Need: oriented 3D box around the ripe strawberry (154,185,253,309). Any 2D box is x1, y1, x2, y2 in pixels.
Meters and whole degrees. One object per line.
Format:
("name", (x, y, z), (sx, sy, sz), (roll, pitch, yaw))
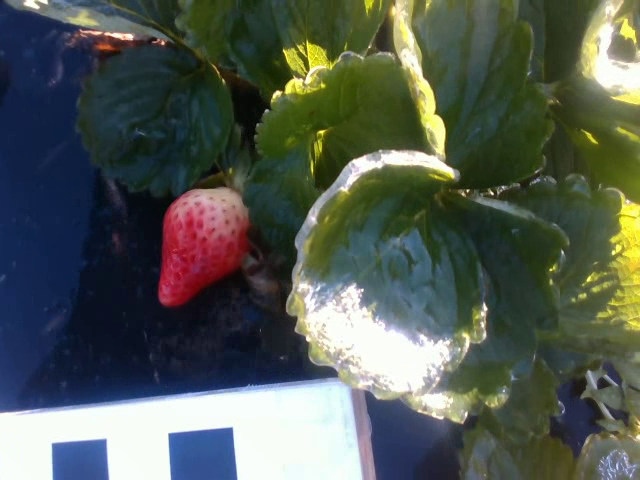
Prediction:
("ripe strawberry", (-0.060, 0.002, 0.262), (0.040, 0.065, 0.040), (33, 2, 16))
